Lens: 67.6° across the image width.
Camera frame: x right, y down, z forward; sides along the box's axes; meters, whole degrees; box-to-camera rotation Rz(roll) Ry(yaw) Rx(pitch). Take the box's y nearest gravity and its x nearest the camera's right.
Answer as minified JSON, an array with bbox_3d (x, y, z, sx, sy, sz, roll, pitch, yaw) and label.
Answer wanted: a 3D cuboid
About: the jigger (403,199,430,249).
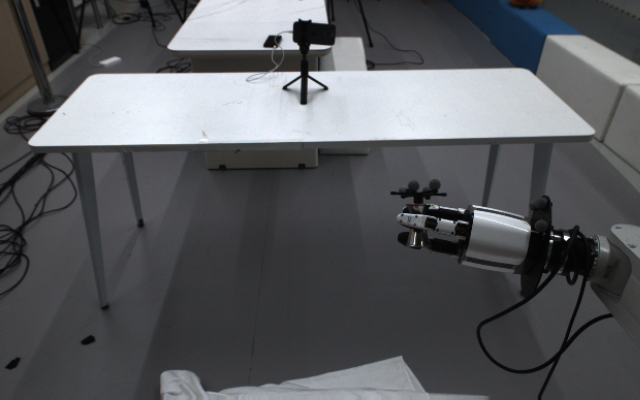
[{"bbox_3d":[0.155,0.039,0.775,0.043,0.071,0.043,2,-6,0],"label":"jigger"}]
